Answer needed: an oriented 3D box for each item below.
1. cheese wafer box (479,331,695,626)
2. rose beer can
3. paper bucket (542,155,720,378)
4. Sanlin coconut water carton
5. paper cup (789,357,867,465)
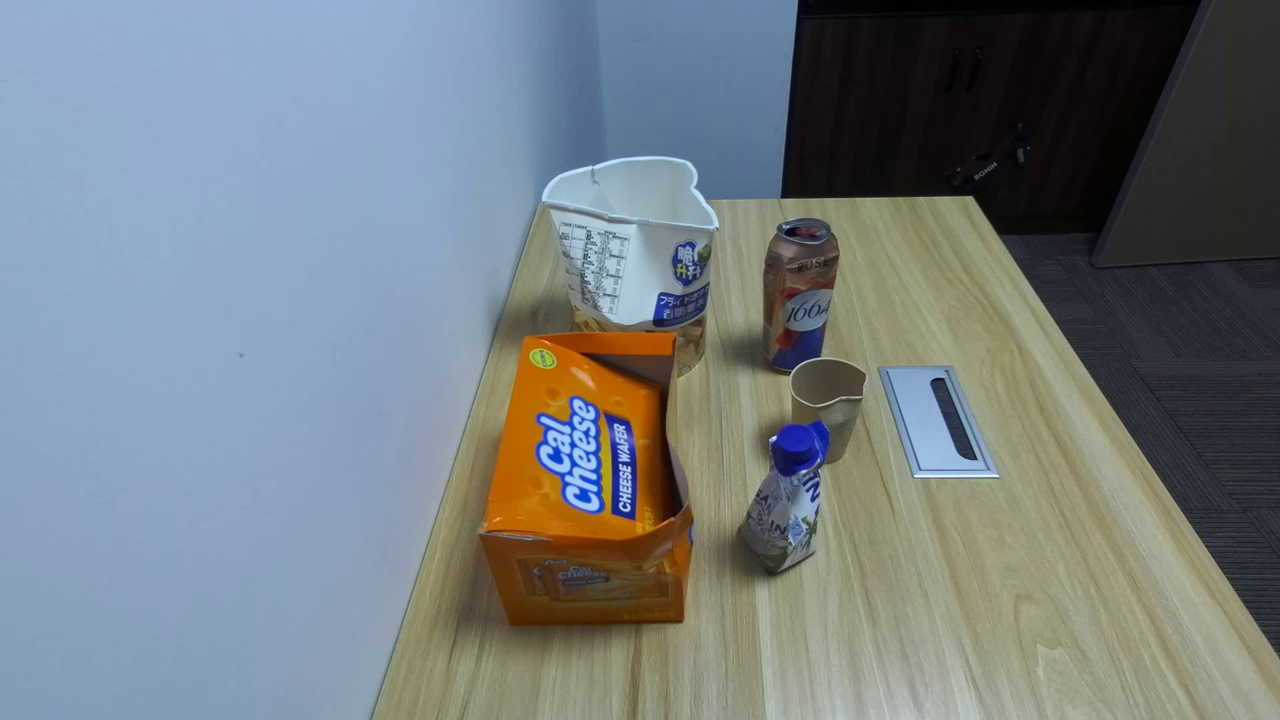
[{"bbox_3d":[-0.035,0.097,0.605,0.152,0.132,0.230,-1,39,2],"label":"cheese wafer box"},{"bbox_3d":[0.171,-0.066,0.756,0.076,0.167,0.065,-6,36,0],"label":"rose beer can"},{"bbox_3d":[-0.010,-0.091,0.770,0.163,0.202,0.168,-8,37,-3],"label":"paper bucket"},{"bbox_3d":[0.128,0.108,0.569,0.069,0.144,0.056,-15,47,-26],"label":"Sanlin coconut water carton"},{"bbox_3d":[0.175,0.052,0.678,0.068,0.081,0.073,10,41,17],"label":"paper cup"}]
